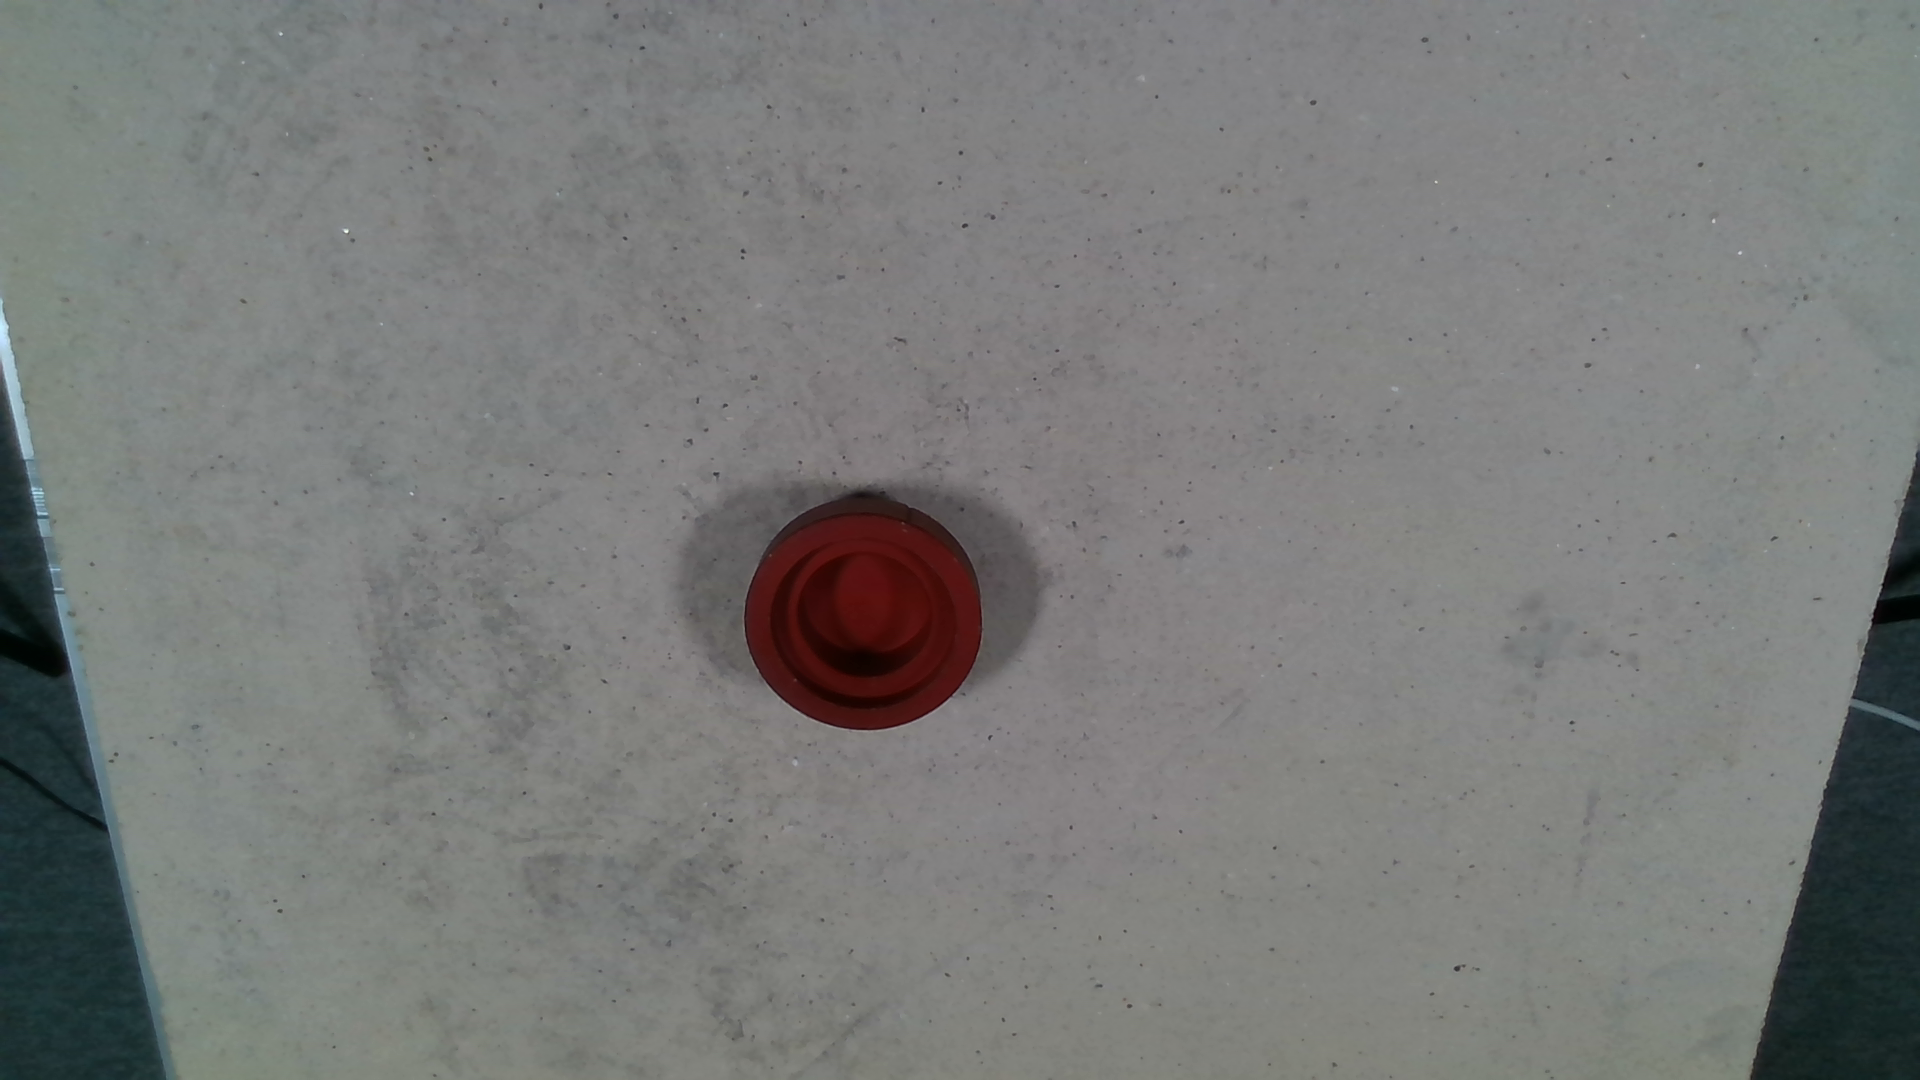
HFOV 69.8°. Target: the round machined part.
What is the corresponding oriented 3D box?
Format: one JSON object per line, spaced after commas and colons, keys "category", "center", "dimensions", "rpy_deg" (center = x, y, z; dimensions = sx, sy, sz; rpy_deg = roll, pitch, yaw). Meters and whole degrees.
{"category": "round machined part", "center": [-0.040, 0.027, 0.586], "dimensions": [0.098, 0.042, 0.098], "rpy_deg": [0, 110, 0]}
